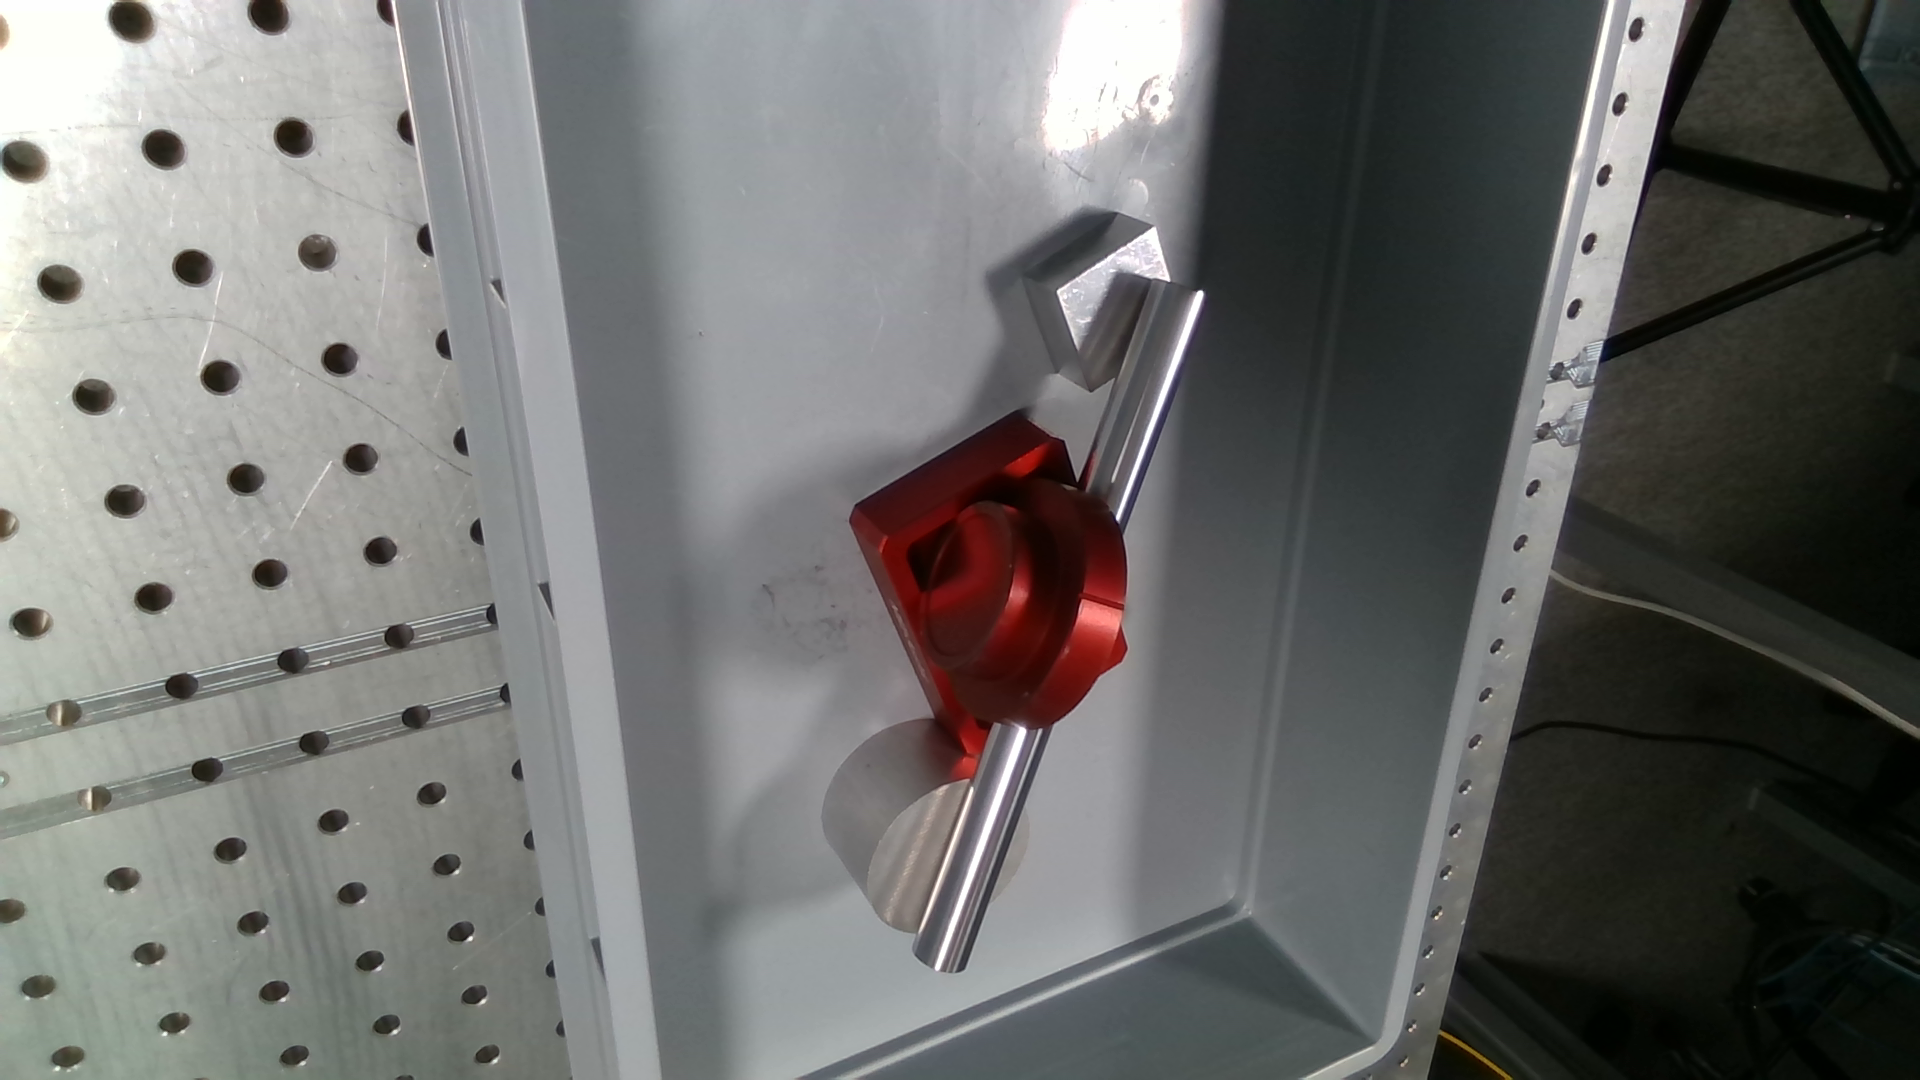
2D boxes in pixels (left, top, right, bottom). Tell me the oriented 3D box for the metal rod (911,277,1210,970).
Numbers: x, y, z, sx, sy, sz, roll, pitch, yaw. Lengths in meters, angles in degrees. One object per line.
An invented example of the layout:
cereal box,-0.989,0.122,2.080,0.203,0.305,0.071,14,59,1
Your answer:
metal rod,0.039,0.040,0.572,0.025,0.025,0.300,12,102,-36

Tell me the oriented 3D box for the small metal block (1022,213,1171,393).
small metal block,0.059,-0.097,0.563,0.050,0.025,0.050,-34,128,-12

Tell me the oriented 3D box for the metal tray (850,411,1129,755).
metal tray,0.016,0.021,0.596,0.090,0.030,0.130,-31,127,-14

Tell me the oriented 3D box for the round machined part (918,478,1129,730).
round machined part,0.019,0.022,0.539,0.042,0.098,0.098,17,105,-29

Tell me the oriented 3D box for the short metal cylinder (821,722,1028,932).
short metal cylinder,-0.016,0.129,0.623,0.080,0.050,0.080,-14,122,-25
